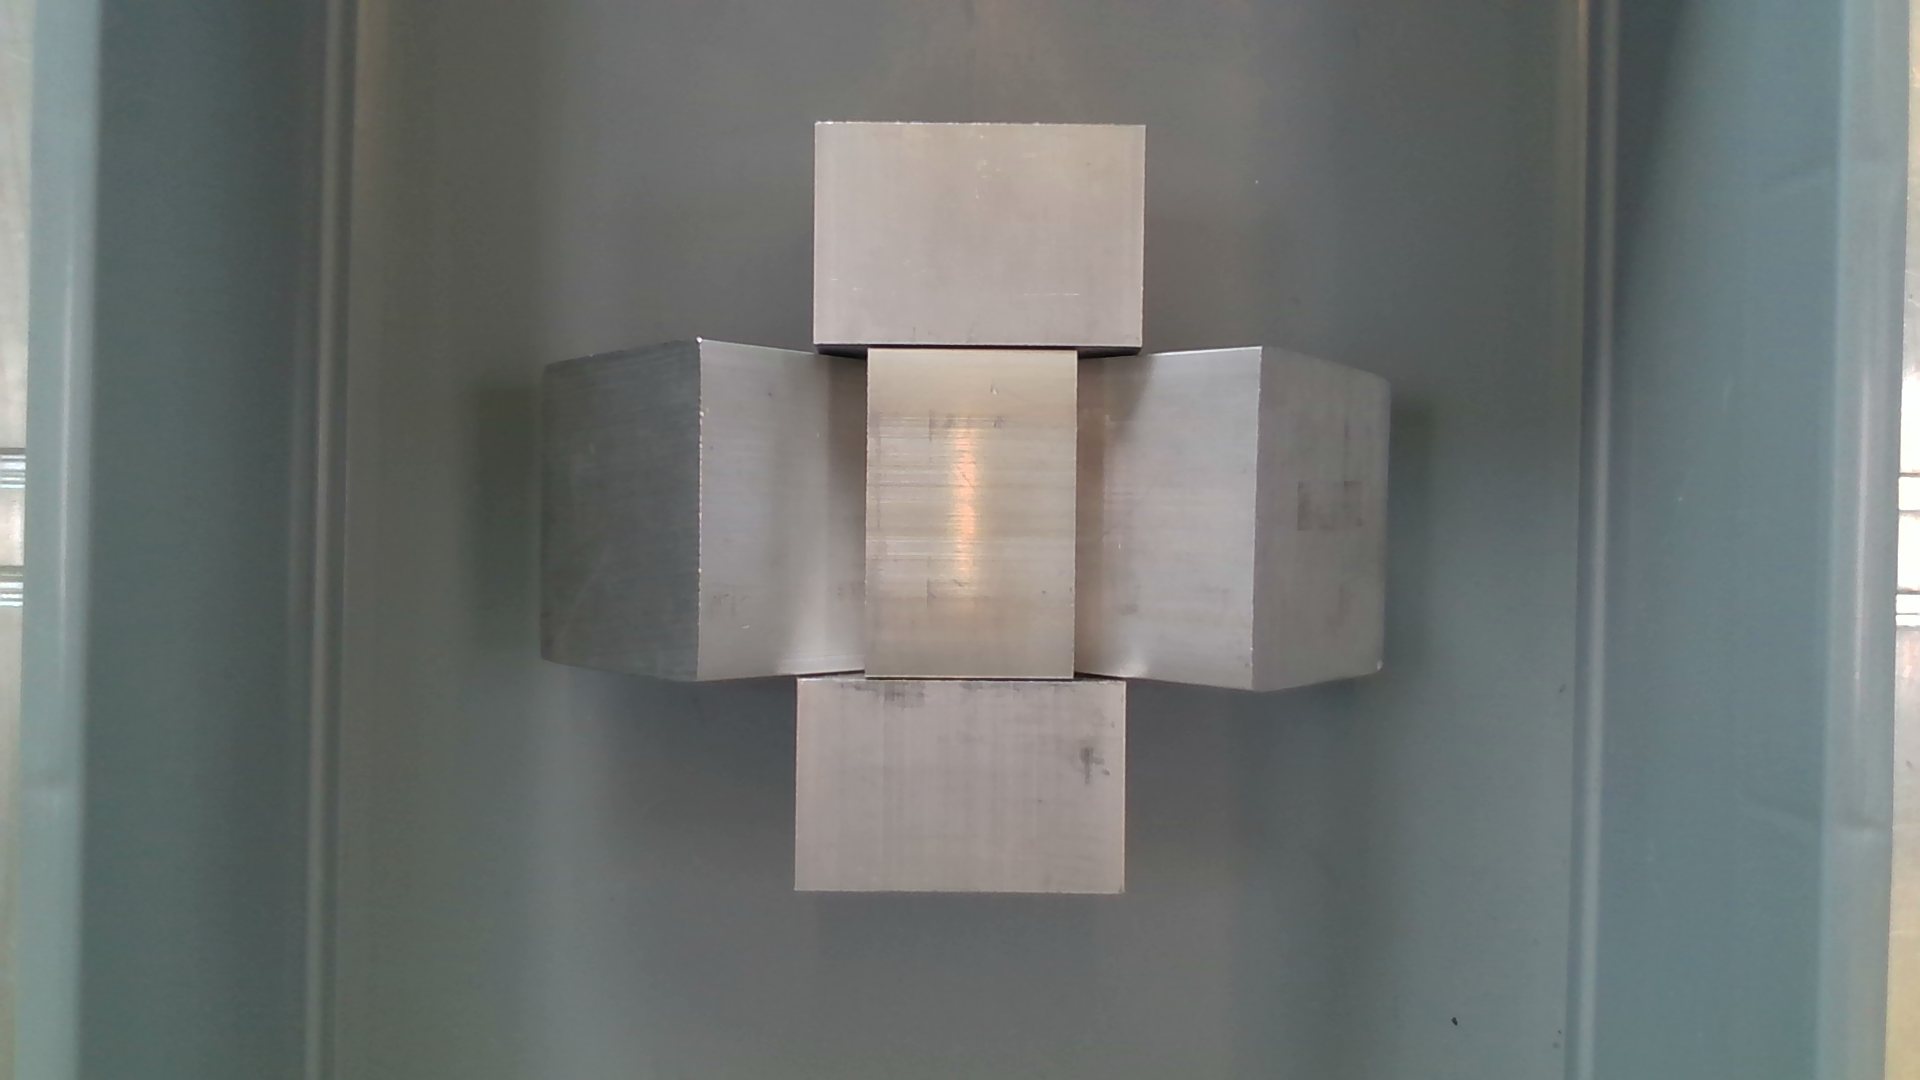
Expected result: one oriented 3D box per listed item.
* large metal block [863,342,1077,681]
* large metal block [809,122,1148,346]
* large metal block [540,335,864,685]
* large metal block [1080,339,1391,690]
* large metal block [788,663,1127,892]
[{"bbox_3d":[0.002,-0.007,0.367,0.050,0.080,0.080,1,90,0],"label":"large metal block"},{"bbox_3d":[0.004,-0.074,0.367,0.080,0.080,0.050,1,90,0],"label":"large metal block"},{"bbox_3d":[-0.068,-0.008,0.360,0.050,0.080,0.080,-1,92,-42],"label":"large metal block"},{"bbox_3d":[0.073,-0.006,0.361,0.050,0.080,0.080,2,90,38],"label":"large metal block"},{"bbox_3d":[-0.001,0.058,0.367,0.080,0.080,0.050,1,90,0],"label":"large metal block"}]
